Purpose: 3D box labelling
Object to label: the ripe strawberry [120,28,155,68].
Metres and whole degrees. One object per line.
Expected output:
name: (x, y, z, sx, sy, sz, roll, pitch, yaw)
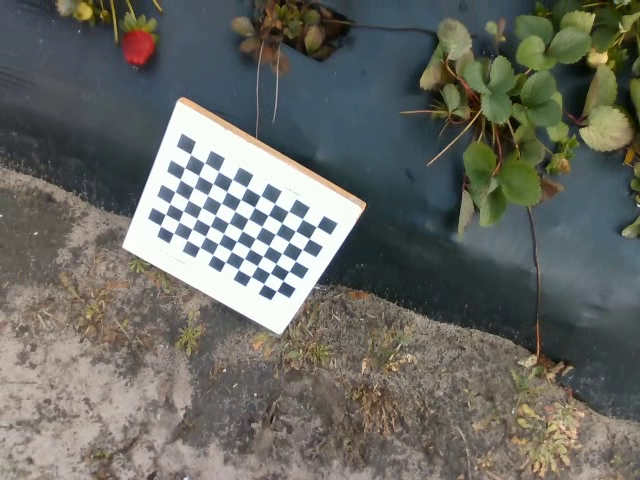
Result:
ripe strawberry: (-0.235, -0.244, 0.804, 0.045, 0.055, 0.042, -12, -38, 24)
